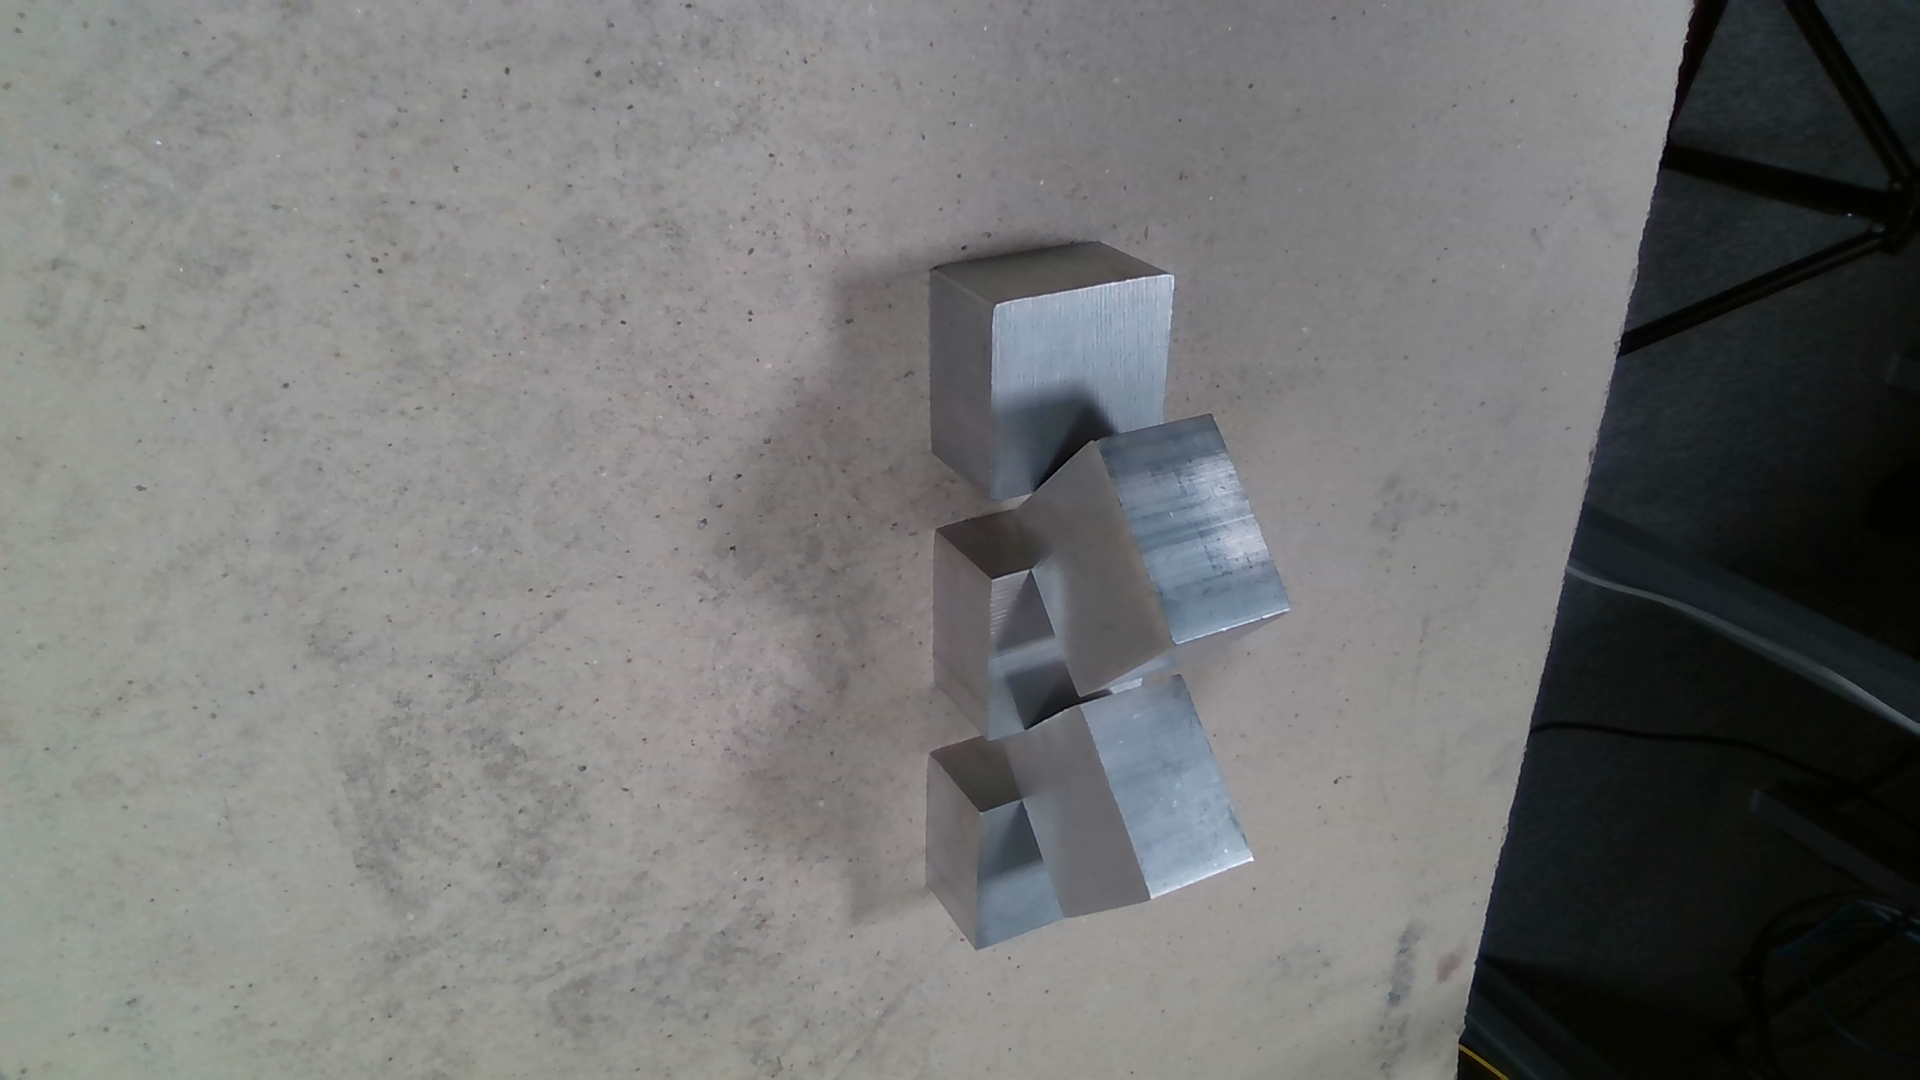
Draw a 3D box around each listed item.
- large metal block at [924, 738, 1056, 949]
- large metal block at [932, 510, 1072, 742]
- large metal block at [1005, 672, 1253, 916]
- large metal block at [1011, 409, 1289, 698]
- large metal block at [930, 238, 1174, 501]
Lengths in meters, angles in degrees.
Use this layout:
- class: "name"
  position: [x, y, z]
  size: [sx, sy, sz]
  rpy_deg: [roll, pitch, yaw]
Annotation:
- class: "large metal block"
  position: [0.030, 0.136, 0.657]
  size: [0.080, 0.050, 0.080]
  rpy_deg: [-13, 121, -25]
- class: "large metal block"
  position: [0.035, 0.032, 0.604]
  size: [0.080, 0.050, 0.080]
  rpy_deg: [-14, 121, -25]
- class: "large metal block"
  position: [0.068, 0.109, 0.585]
  size: [0.050, 0.080, 0.080]
  rpy_deg: [-14, 77, -26]
- class: "large metal block"
  position: [0.070, 0.007, 0.528]
  size: [0.050, 0.080, 0.080]
  rpy_deg: [-15, 167, -24]
- class: "large metal block"
  position: [0.035, -0.070, 0.549]
  size: [0.080, 0.050, 0.080]
  rpy_deg: [-14, 121, -25]
